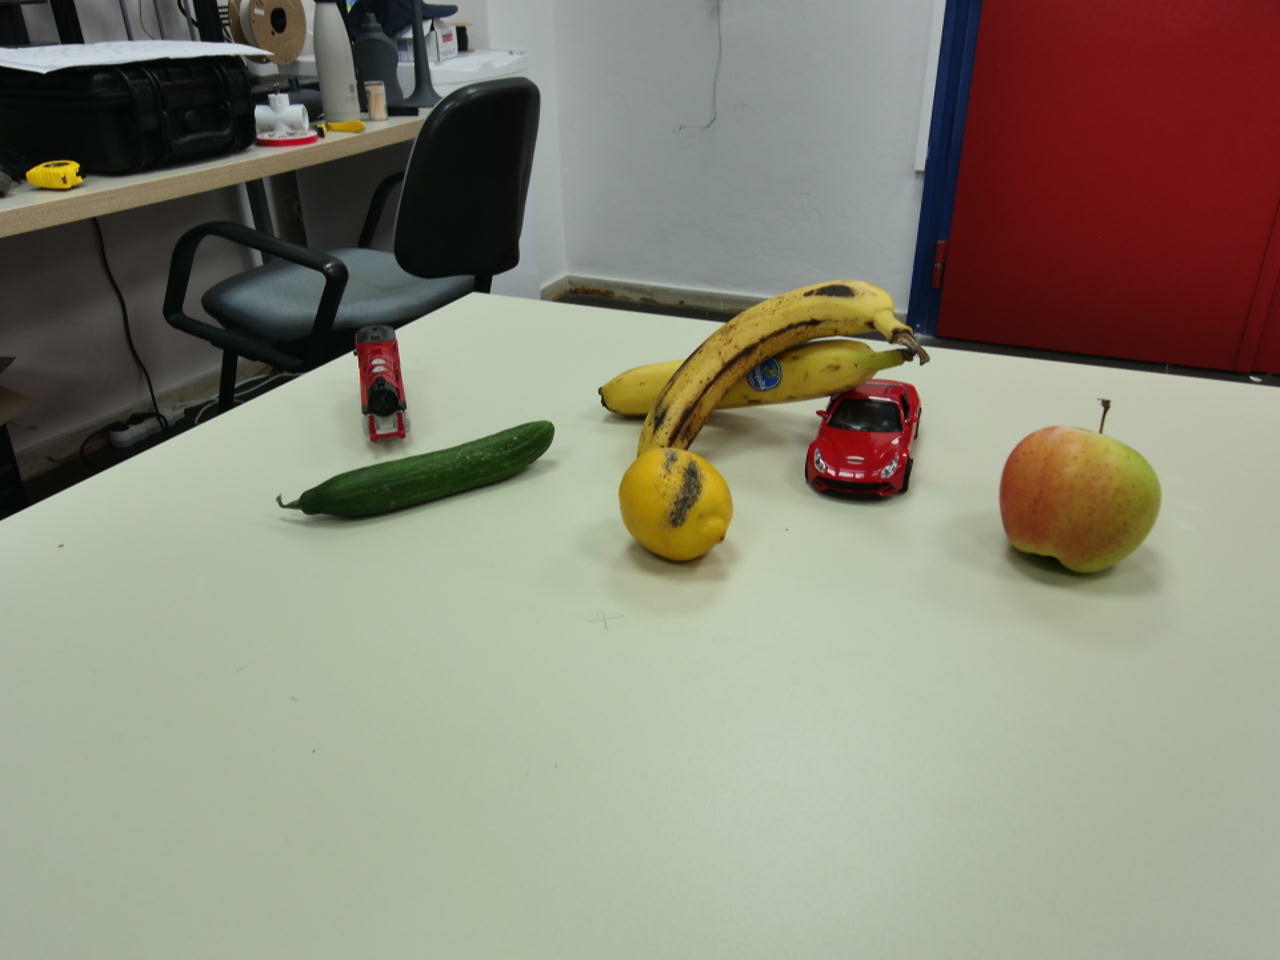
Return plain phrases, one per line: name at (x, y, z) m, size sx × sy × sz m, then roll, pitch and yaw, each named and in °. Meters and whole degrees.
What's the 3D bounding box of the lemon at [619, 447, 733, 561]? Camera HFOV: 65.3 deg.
lemon at (0.019, 0.013, 0.524) m, size 0.061 × 0.056 × 0.058 m, roll 8°, pitch 26°, yaw 15°
